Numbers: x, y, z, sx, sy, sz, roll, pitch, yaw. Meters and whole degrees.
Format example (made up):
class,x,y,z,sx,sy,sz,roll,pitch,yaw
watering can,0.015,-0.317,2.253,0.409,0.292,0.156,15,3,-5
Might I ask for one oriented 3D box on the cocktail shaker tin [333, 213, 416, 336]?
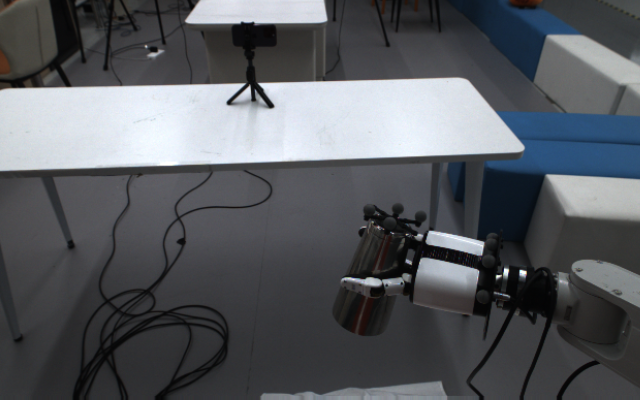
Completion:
class,x,y,z,sx,sy,sz,roll,pitch,yaw
cocktail shaker tin,0.085,0.107,0.735,0.093,0.170,0.093,12,24,-5
